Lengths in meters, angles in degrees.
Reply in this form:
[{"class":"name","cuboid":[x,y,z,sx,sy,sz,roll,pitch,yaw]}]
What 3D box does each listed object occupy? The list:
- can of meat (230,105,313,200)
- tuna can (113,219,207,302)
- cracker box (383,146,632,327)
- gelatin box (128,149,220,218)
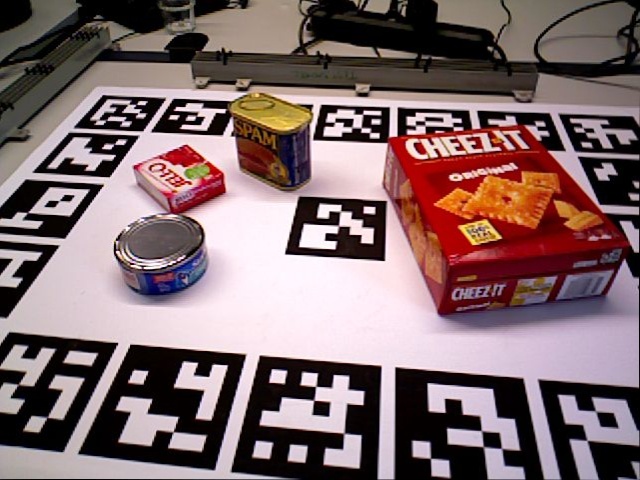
[{"class":"can of meat","cuboid":[-0.055,-0.105,0.654,0.102,0.085,0.056,25,45,28]},{"class":"tuna can","cuboid":[-0.155,0.019,0.530,0.085,0.034,0.084,-2,43,1]},{"class":"cracker box","cuboid":[0.173,-0.017,0.552,0.163,0.073,0.211,-5,39,-8]},{"class":"gelatin box","cuboid":[-0.172,-0.069,0.643,0.071,0.031,0.089,-27,49,-33]}]
